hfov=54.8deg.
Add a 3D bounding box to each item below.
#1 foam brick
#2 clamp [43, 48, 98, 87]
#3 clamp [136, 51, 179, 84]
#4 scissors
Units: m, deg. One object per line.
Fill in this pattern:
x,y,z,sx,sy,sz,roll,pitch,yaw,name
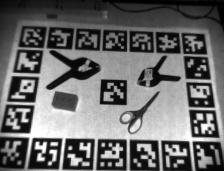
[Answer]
-0.179,0.053,0.788,0.078,0.051,0.052,8,73,6,foam brick
-0.158,-0.073,0.836,0.203,0.037,0.165,-1,69,-4,clamp
0.168,-0.053,0.847,0.166,0.036,0.121,-25,81,-9,clamp
0.101,0.083,0.802,0.087,0.016,0.203,42,73,3,scissors
